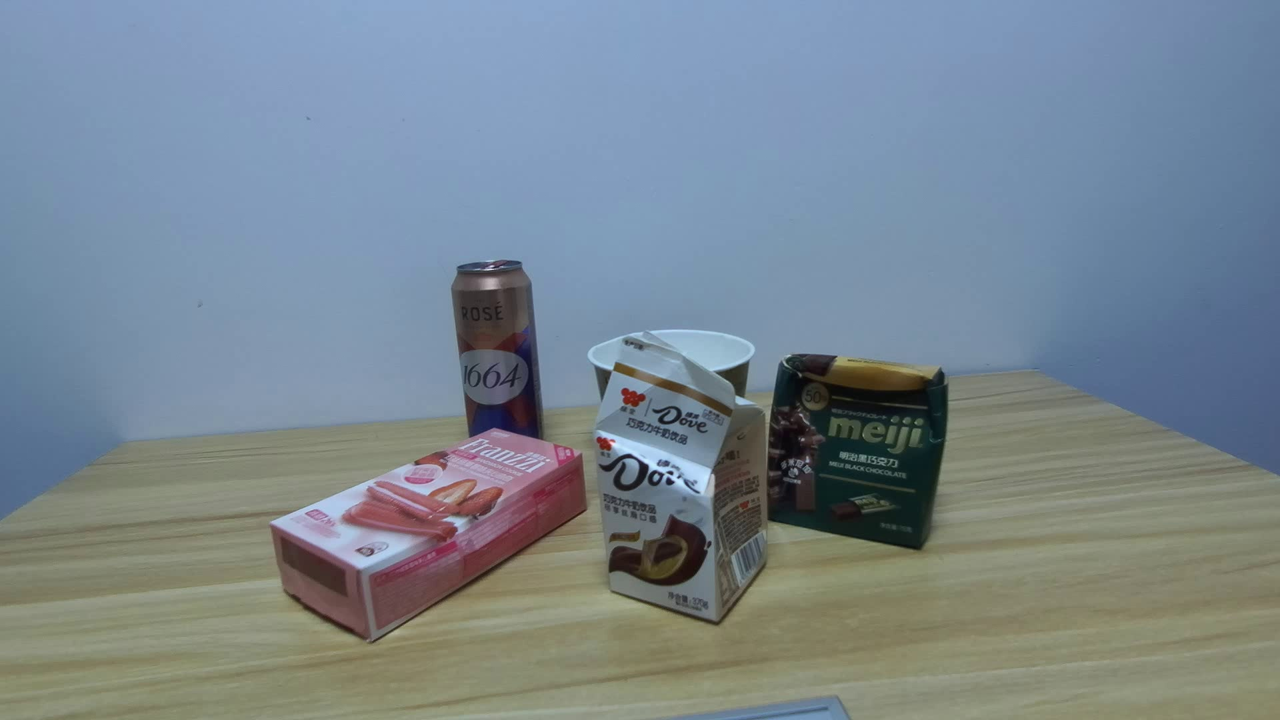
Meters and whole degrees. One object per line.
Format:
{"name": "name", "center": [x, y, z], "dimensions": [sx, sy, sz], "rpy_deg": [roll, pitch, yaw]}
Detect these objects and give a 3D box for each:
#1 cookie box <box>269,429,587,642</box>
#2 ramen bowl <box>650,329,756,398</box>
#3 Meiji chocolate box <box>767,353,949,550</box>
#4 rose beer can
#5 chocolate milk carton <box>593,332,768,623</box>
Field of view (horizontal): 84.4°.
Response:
{"name": "cookie box", "center": [-0.128, 0.105, 0.470], "dimensions": [0.104, 0.049, 0.188], "rpy_deg": [9, 19, 36]}
{"name": "ramen bowl", "center": [0.026, 0.035, 0.606], "dimensions": [0.140, 0.095, 0.140], "rpy_deg": [-1, 16, 1]}
{"name": "Meiji chocolate box", "center": [0.145, 0.057, 0.477], "dimensions": [0.117, 0.117, 0.052], "rpy_deg": [6, 11, 28]}
{"name": "rose beer can", "center": [-0.121, 0.003, 0.611], "dimensions": [0.068, 0.169, 0.068], "rpy_deg": [-3, 15, 1]}
{"name": "chocolate milk carton", "center": [0.025, 0.059, 0.404], "dimensions": [0.076, 0.155, 0.074], "rpy_deg": [8, 22, 31]}
